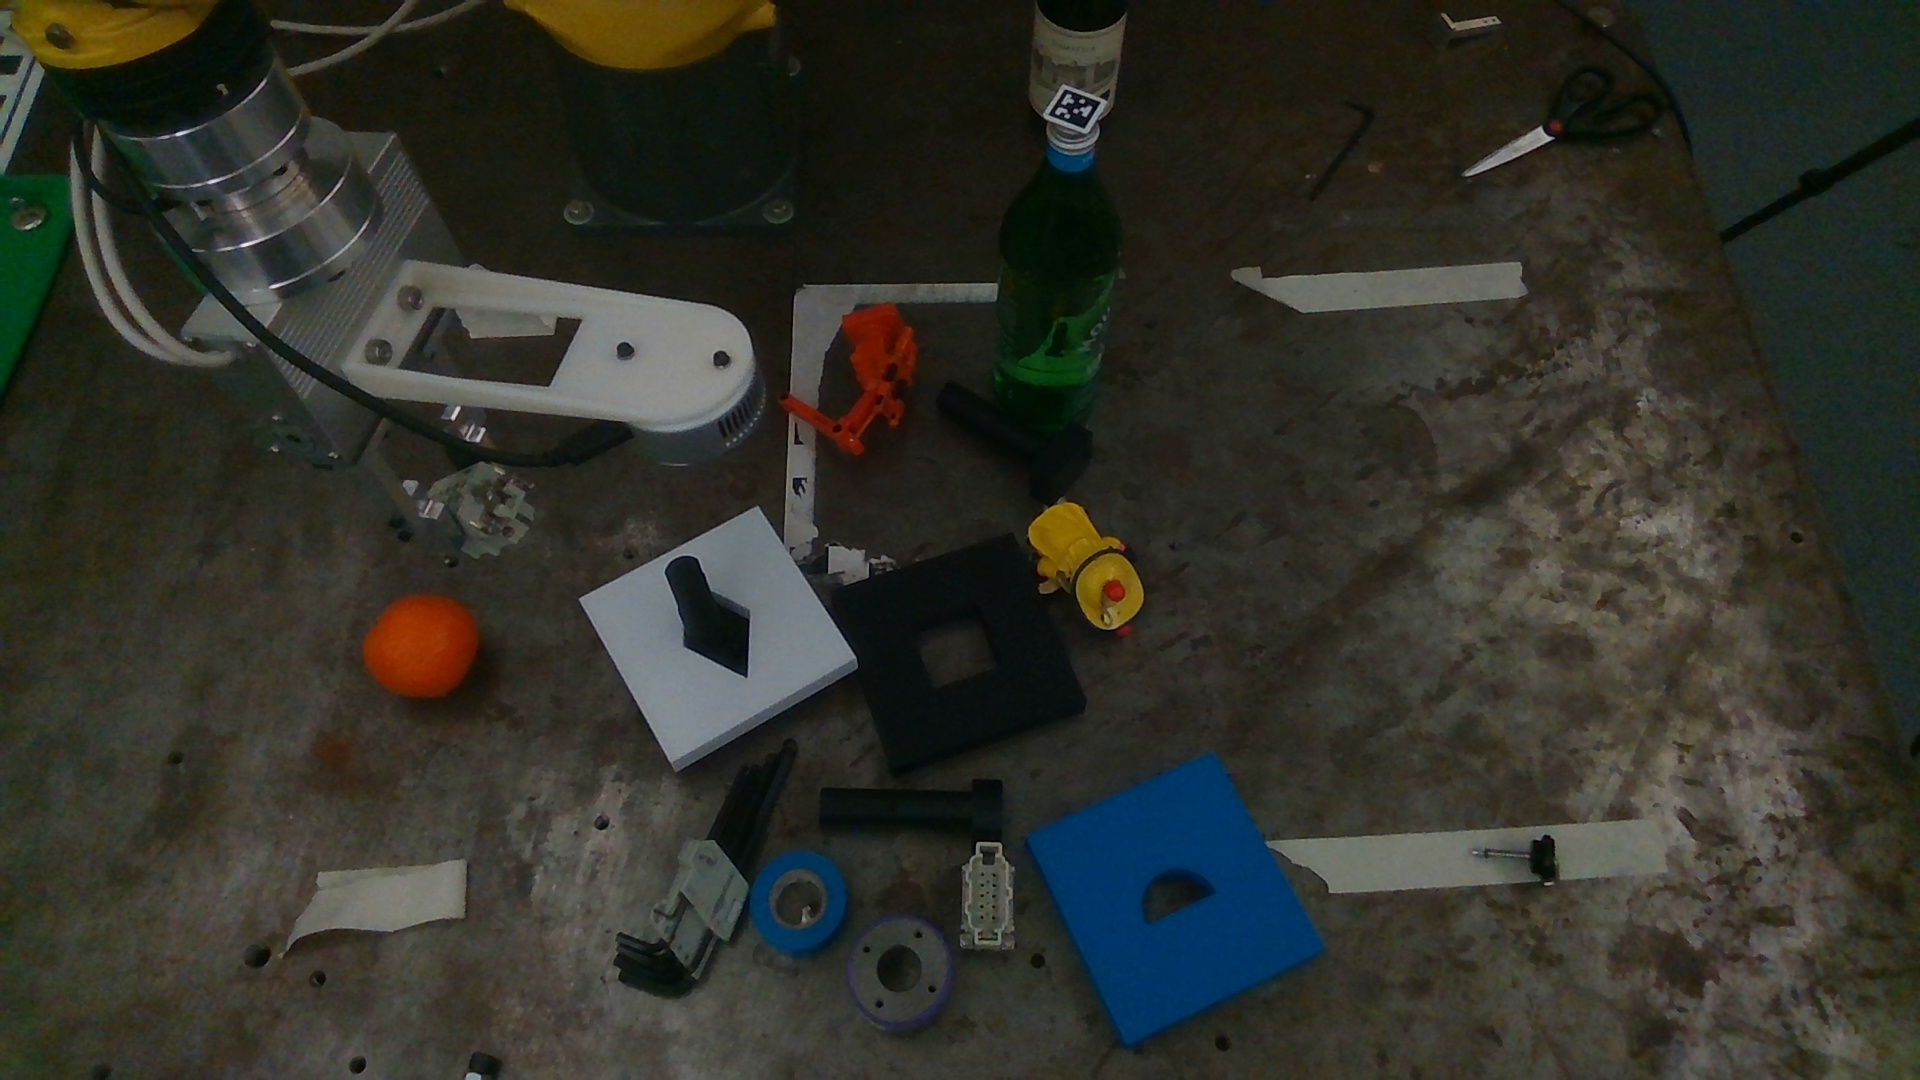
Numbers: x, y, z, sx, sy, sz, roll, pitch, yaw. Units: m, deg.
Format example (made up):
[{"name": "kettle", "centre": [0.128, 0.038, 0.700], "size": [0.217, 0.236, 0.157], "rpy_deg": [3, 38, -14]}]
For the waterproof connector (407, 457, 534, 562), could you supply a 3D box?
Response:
[{"name": "waterproof connector", "centre": [-0.243, -0.012, 0.694], "size": [0.069, 0.038, 0.036], "rpy_deg": [-19, 45, 36]}]
